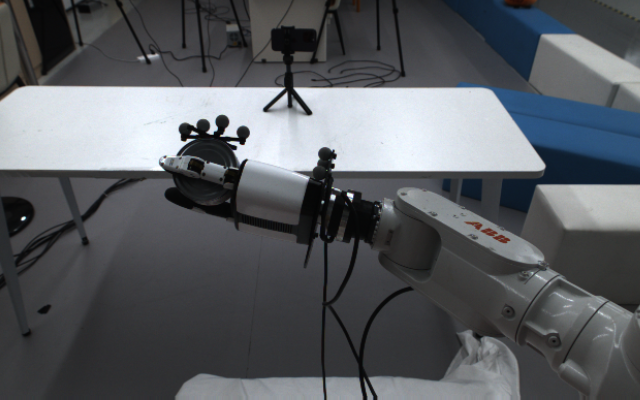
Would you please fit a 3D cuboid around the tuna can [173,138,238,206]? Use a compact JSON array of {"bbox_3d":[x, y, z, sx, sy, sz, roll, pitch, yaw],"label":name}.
[{"bbox_3d":[-0.147,-0.036,0.638,0.085,0.034,0.085,-1,76,3],"label":"tuna can"}]
